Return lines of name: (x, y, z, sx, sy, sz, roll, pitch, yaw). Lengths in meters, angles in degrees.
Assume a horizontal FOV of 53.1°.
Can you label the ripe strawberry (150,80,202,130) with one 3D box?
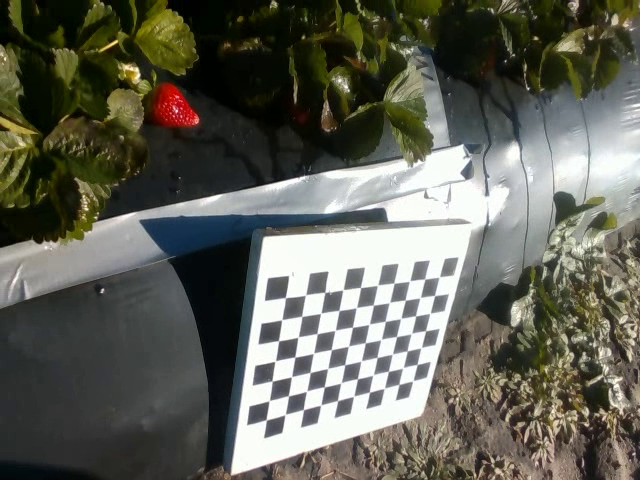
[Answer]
ripe strawberry: (-0.134, -0.119, 0.578, 0.058, 0.046, 0.042, 31, 1, -24)
